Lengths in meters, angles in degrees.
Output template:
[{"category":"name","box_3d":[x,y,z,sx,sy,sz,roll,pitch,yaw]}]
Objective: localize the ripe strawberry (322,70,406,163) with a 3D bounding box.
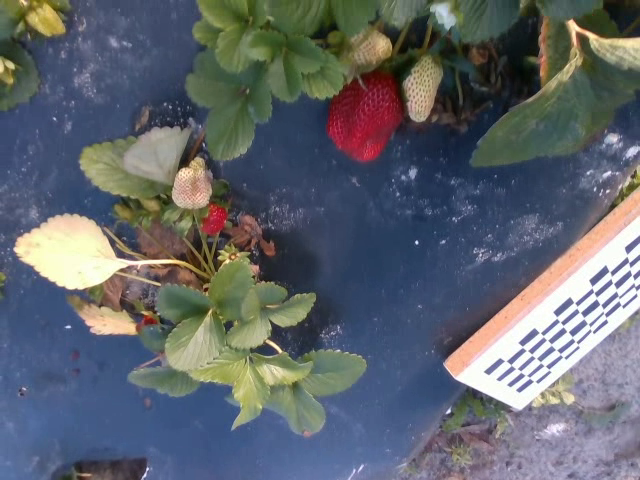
[{"category":"ripe strawberry","box_3d":[0.033,-0.087,0.441,0.057,0.071,0.058,22,-17,32]}]
